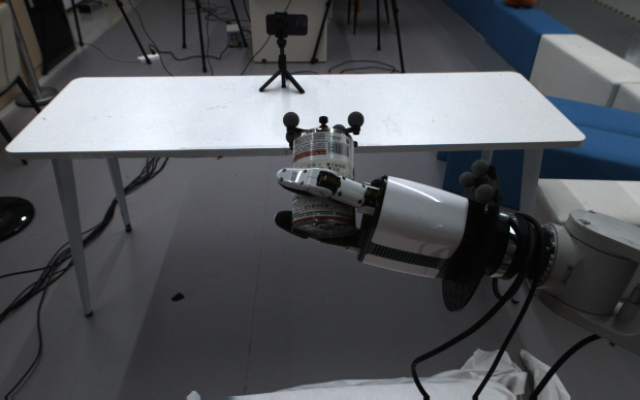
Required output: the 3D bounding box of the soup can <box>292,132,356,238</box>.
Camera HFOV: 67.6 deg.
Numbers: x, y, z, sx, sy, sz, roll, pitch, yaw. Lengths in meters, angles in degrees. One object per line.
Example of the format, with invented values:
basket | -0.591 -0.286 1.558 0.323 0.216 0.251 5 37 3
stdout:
soup can | 0.005 -0.016 0.511 0.067 0.067 0.101 1 72 -2
